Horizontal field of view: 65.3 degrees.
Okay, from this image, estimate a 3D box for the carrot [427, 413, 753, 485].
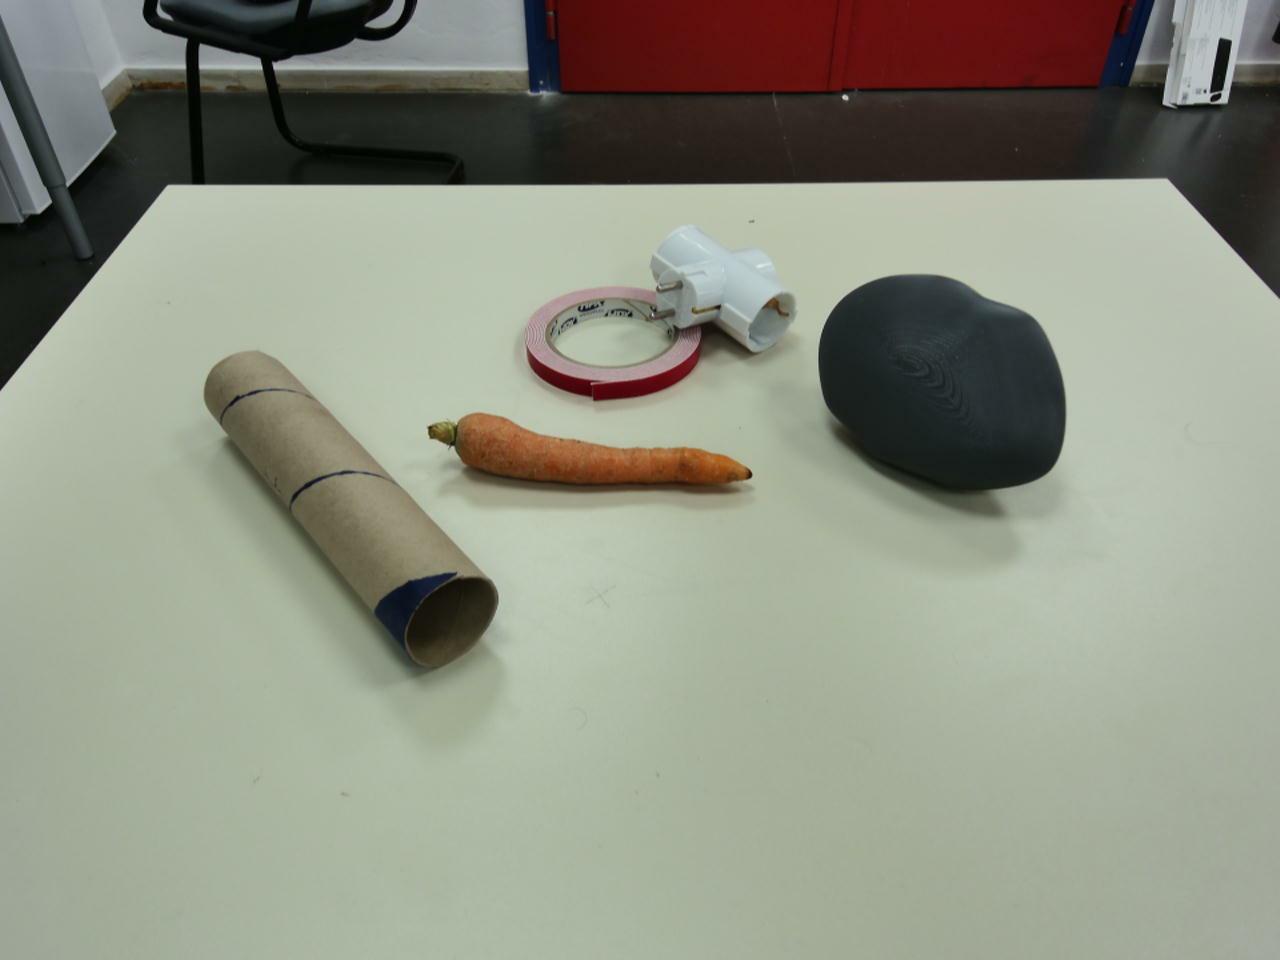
[{"bbox_3d":[-0.027,-0.014,0.524,0.173,0.032,0.030,6,39,7],"label":"carrot"}]
